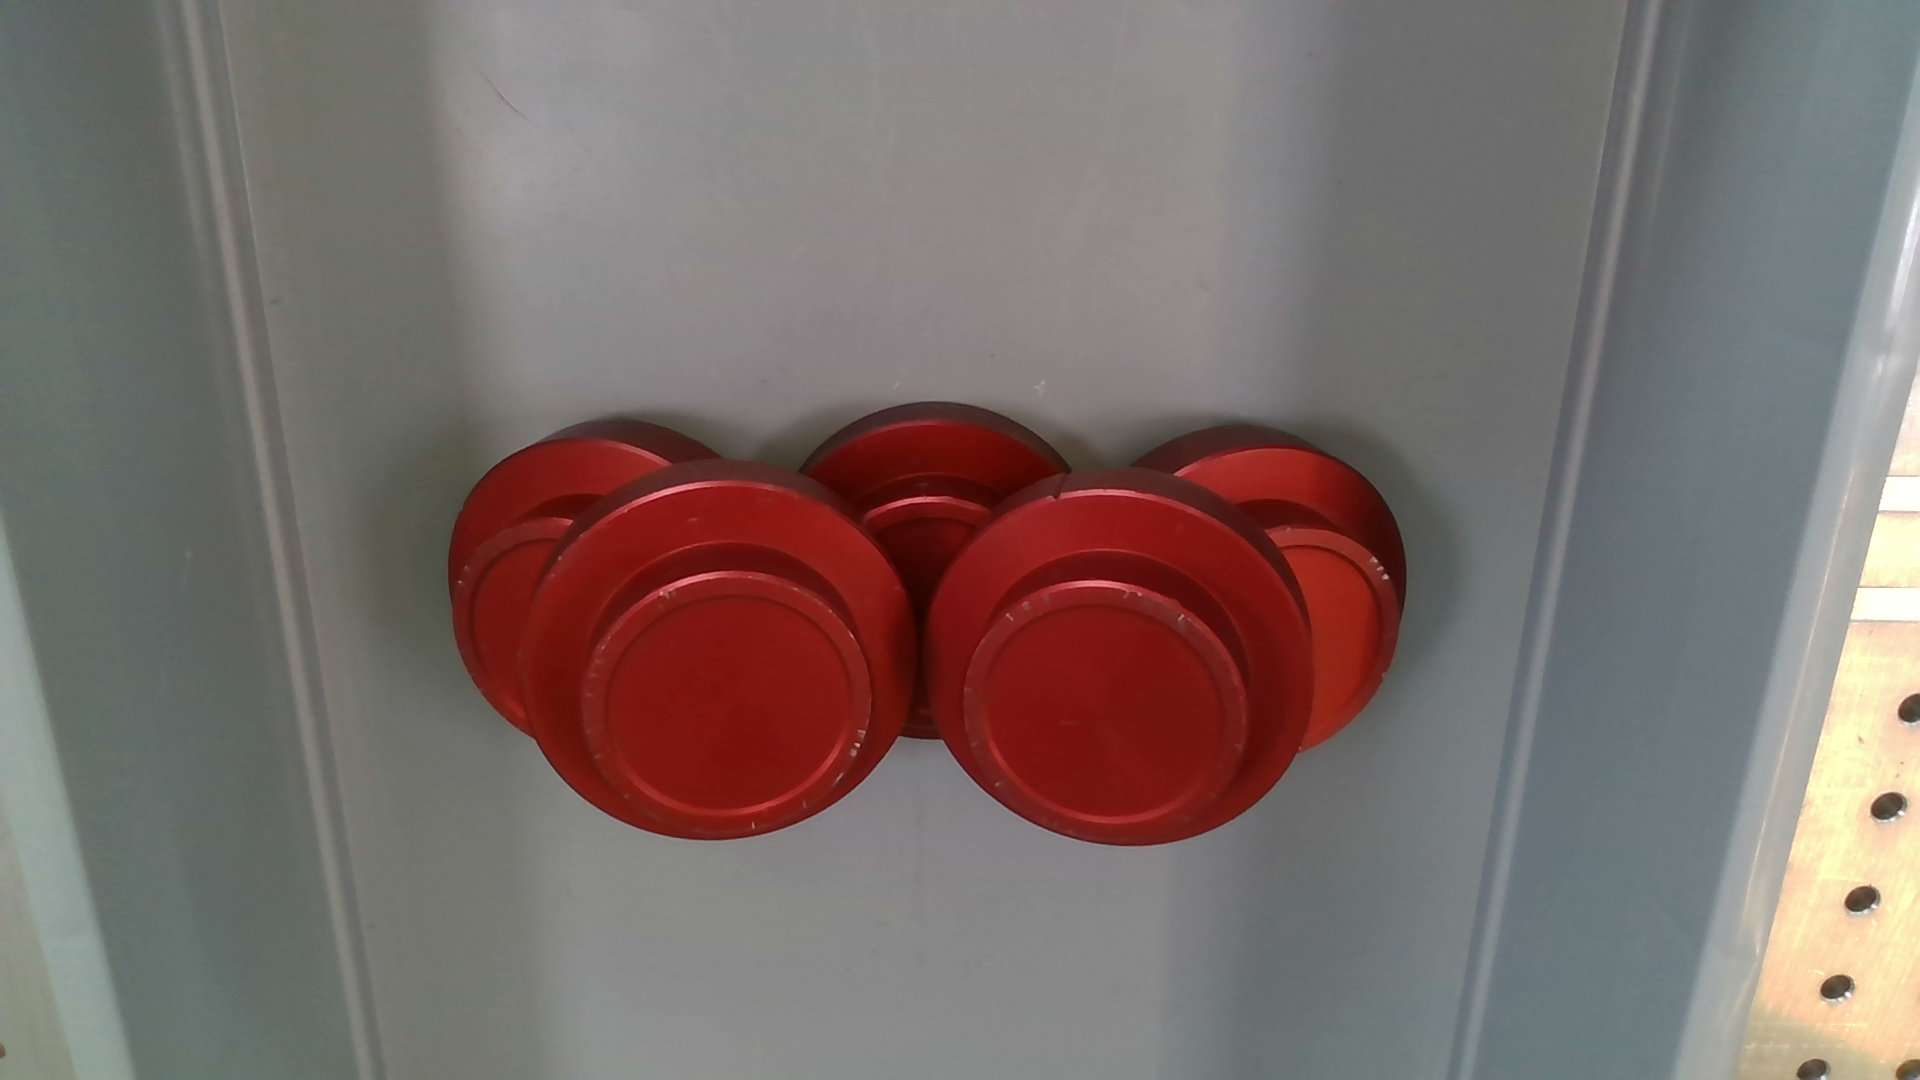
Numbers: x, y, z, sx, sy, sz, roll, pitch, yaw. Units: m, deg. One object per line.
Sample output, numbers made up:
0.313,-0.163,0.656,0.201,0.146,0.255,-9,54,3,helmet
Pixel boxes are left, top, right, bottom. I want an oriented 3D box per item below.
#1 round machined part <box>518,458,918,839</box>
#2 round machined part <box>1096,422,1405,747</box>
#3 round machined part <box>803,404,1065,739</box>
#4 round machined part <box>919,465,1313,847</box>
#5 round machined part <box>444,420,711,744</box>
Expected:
-0.058,0.032,0.341,0.098,0.042,0.098,-4,111,-10,round machined part
0.080,0.020,0.379,0.098,0.042,0.098,-6,111,-15,round machined part
-0.007,0.013,0.388,0.098,0.042,0.098,0,110,-1,round machined part
0.037,0.034,0.341,0.098,0.042,0.098,4,110,12,round machined part
-0.098,0.020,0.376,0.098,0.042,0.098,5,111,14,round machined part
